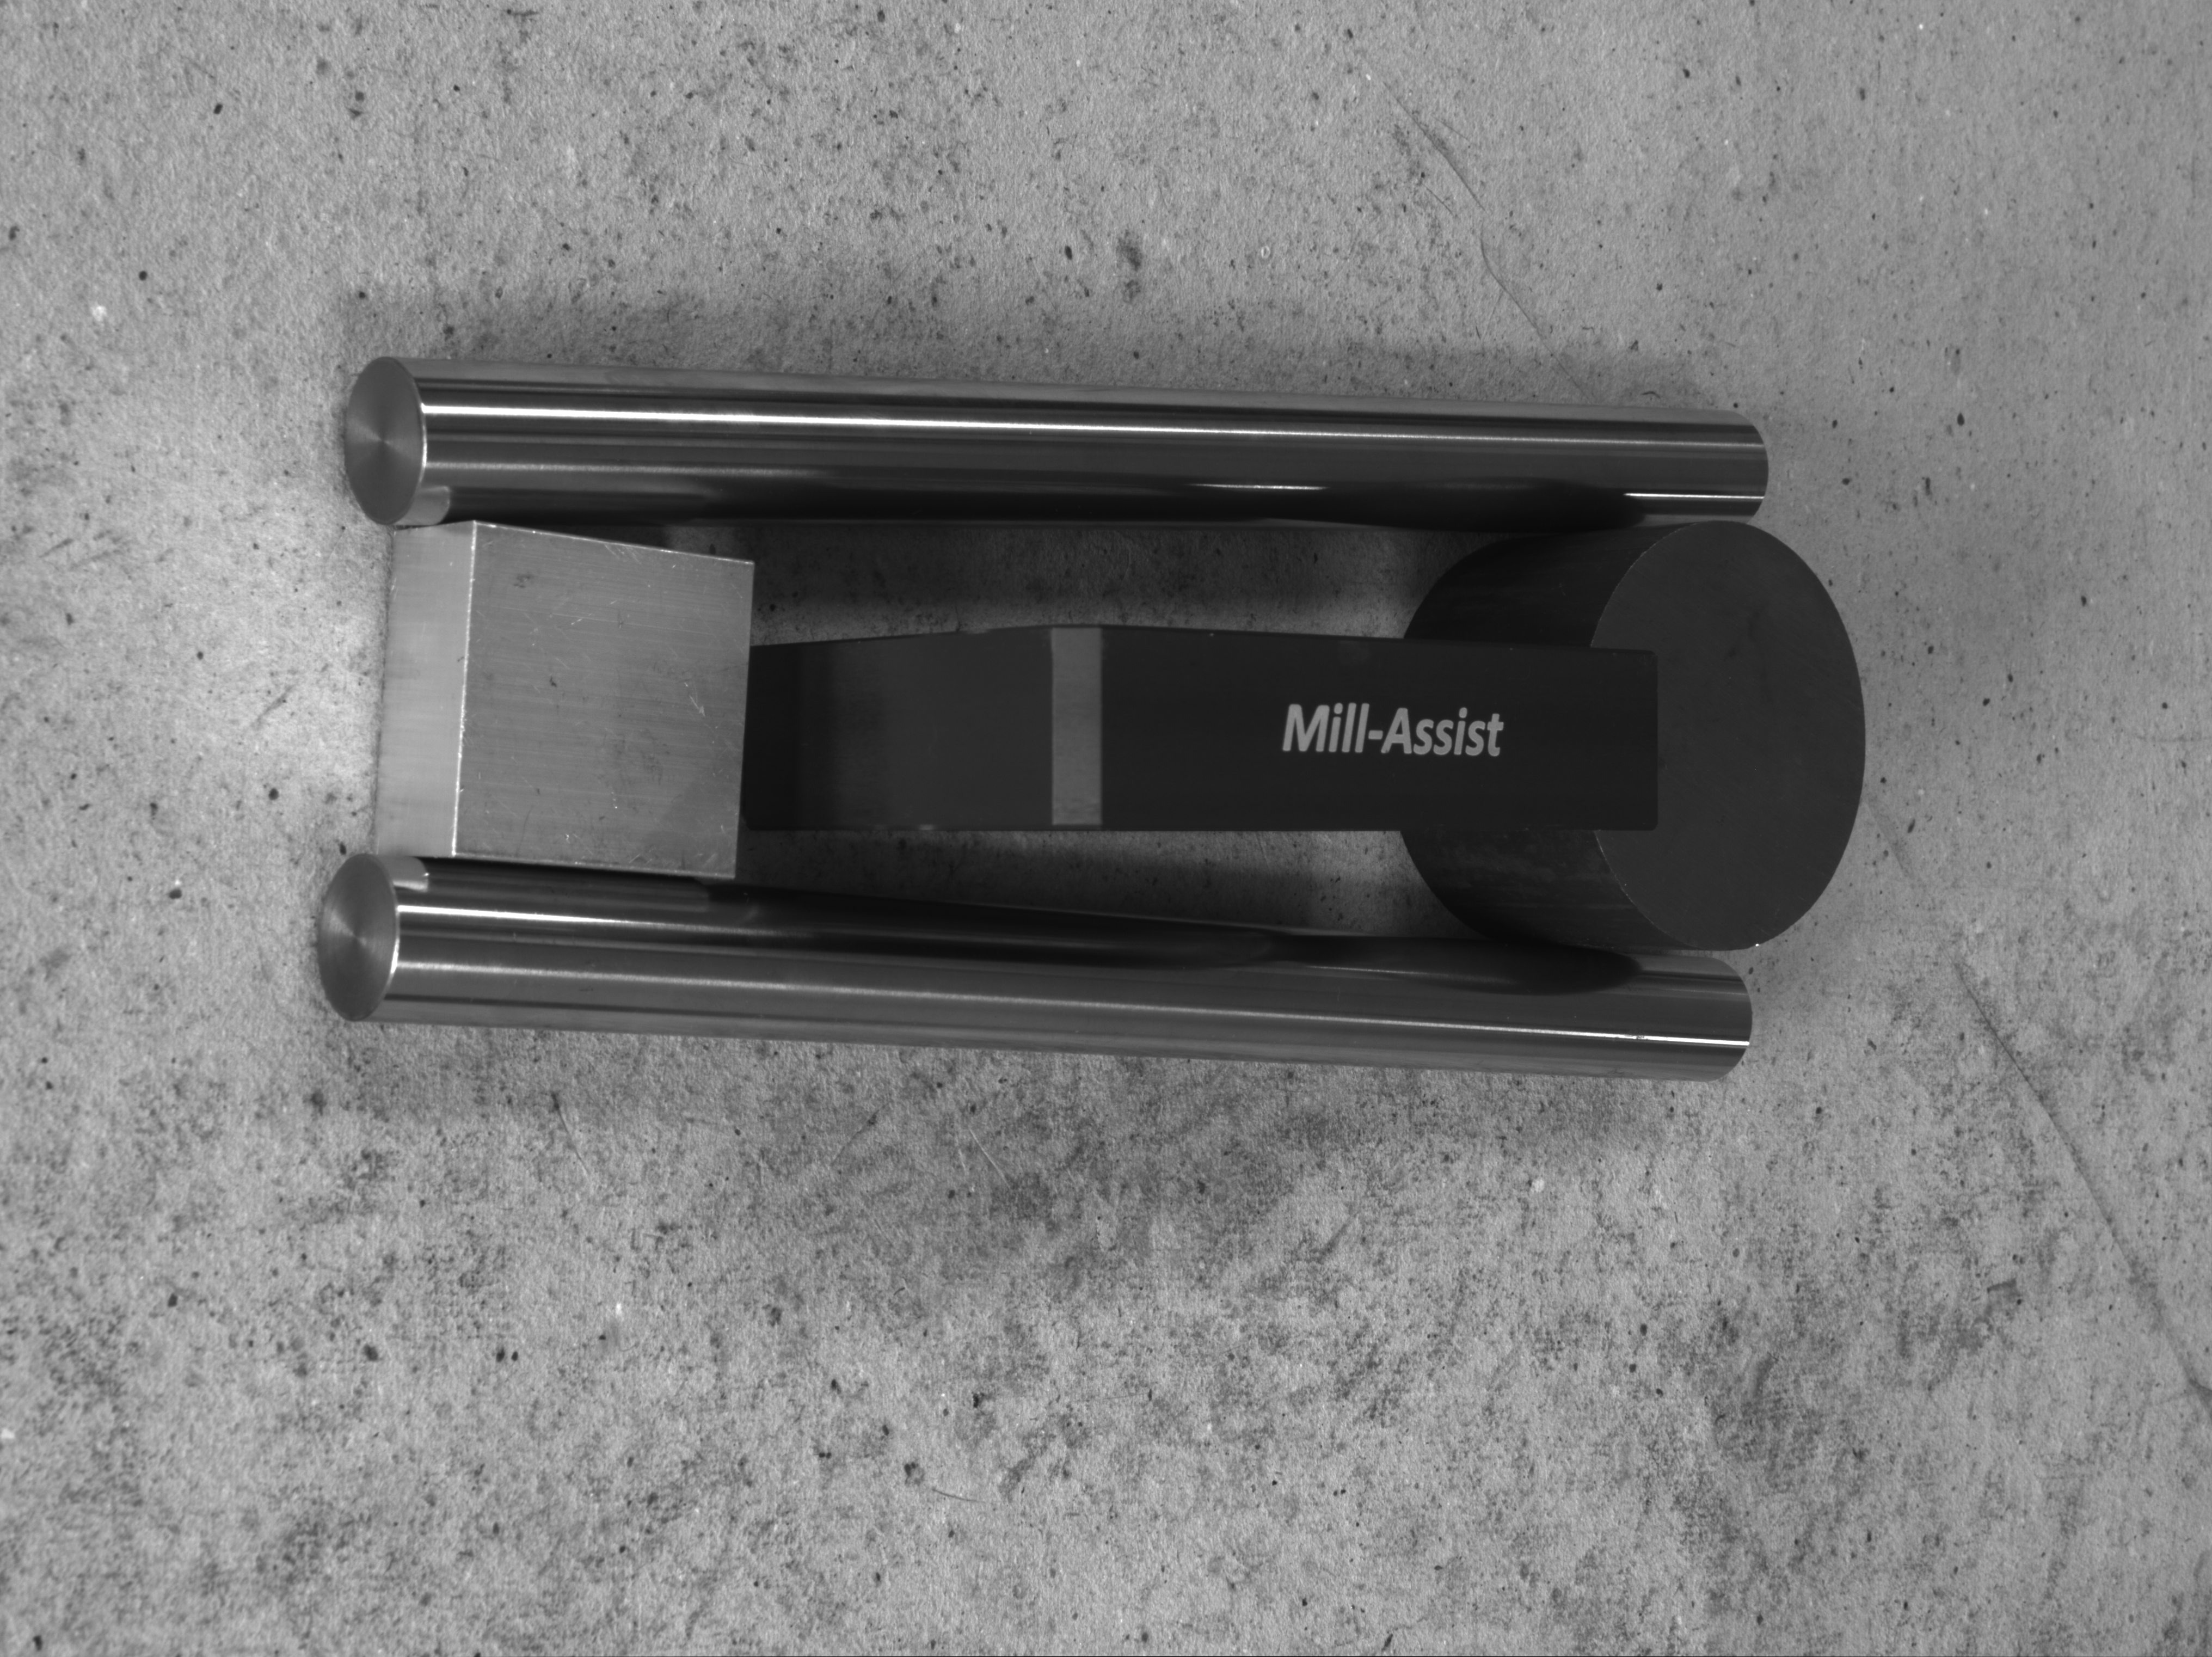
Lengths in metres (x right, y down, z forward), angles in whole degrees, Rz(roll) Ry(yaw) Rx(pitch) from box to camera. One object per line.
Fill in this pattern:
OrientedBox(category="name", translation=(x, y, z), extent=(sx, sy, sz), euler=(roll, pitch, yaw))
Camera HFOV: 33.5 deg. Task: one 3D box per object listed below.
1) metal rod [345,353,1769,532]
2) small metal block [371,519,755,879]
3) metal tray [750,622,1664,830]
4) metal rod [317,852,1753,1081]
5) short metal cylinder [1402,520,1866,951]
OrientedBox(category="metal rod", translation=(0.008, -0.065, 0.644), extent=(0.301, 0.025, 0.025), euler=(-3, 92, -40))
OrientedBox(category="small metal block", translation=(-0.084, -0.019, 0.568), extent=(0.050, 0.025, 0.050), euler=(6, 86, -40))
OrientedBox(category="metal tray", translation=(0.018, -0.015, 0.608), extent=(0.130, 0.090, 0.030), euler=(0, 90, -39))
OrientedBox(category="metal rod", translation=(0.005, 0.027, 0.641), extent=(0.301, 0.025, 0.025), euler=(6, 86, -40))
OrientedBox(category="short metal cylinder", translation=(0.100, -0.017, 0.703), extent=(0.080, 0.050, 0.080), euler=(0, 90, -40))
